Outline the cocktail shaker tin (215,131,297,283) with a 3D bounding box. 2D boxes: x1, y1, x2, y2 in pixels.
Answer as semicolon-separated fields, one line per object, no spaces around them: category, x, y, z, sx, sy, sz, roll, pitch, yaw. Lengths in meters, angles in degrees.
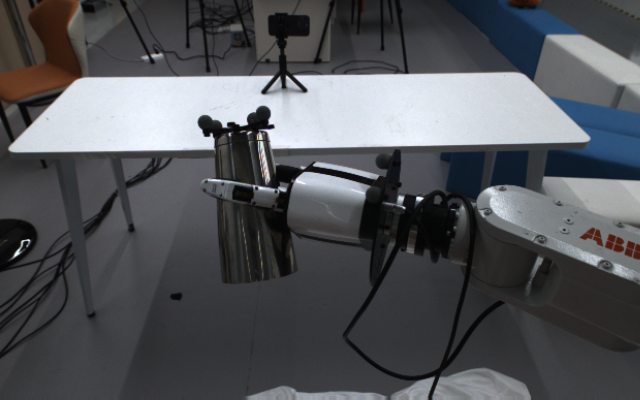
cocktail shaker tin;-0.083;0.008;0.583;0.093;0.170;0.093;-8;1;0
